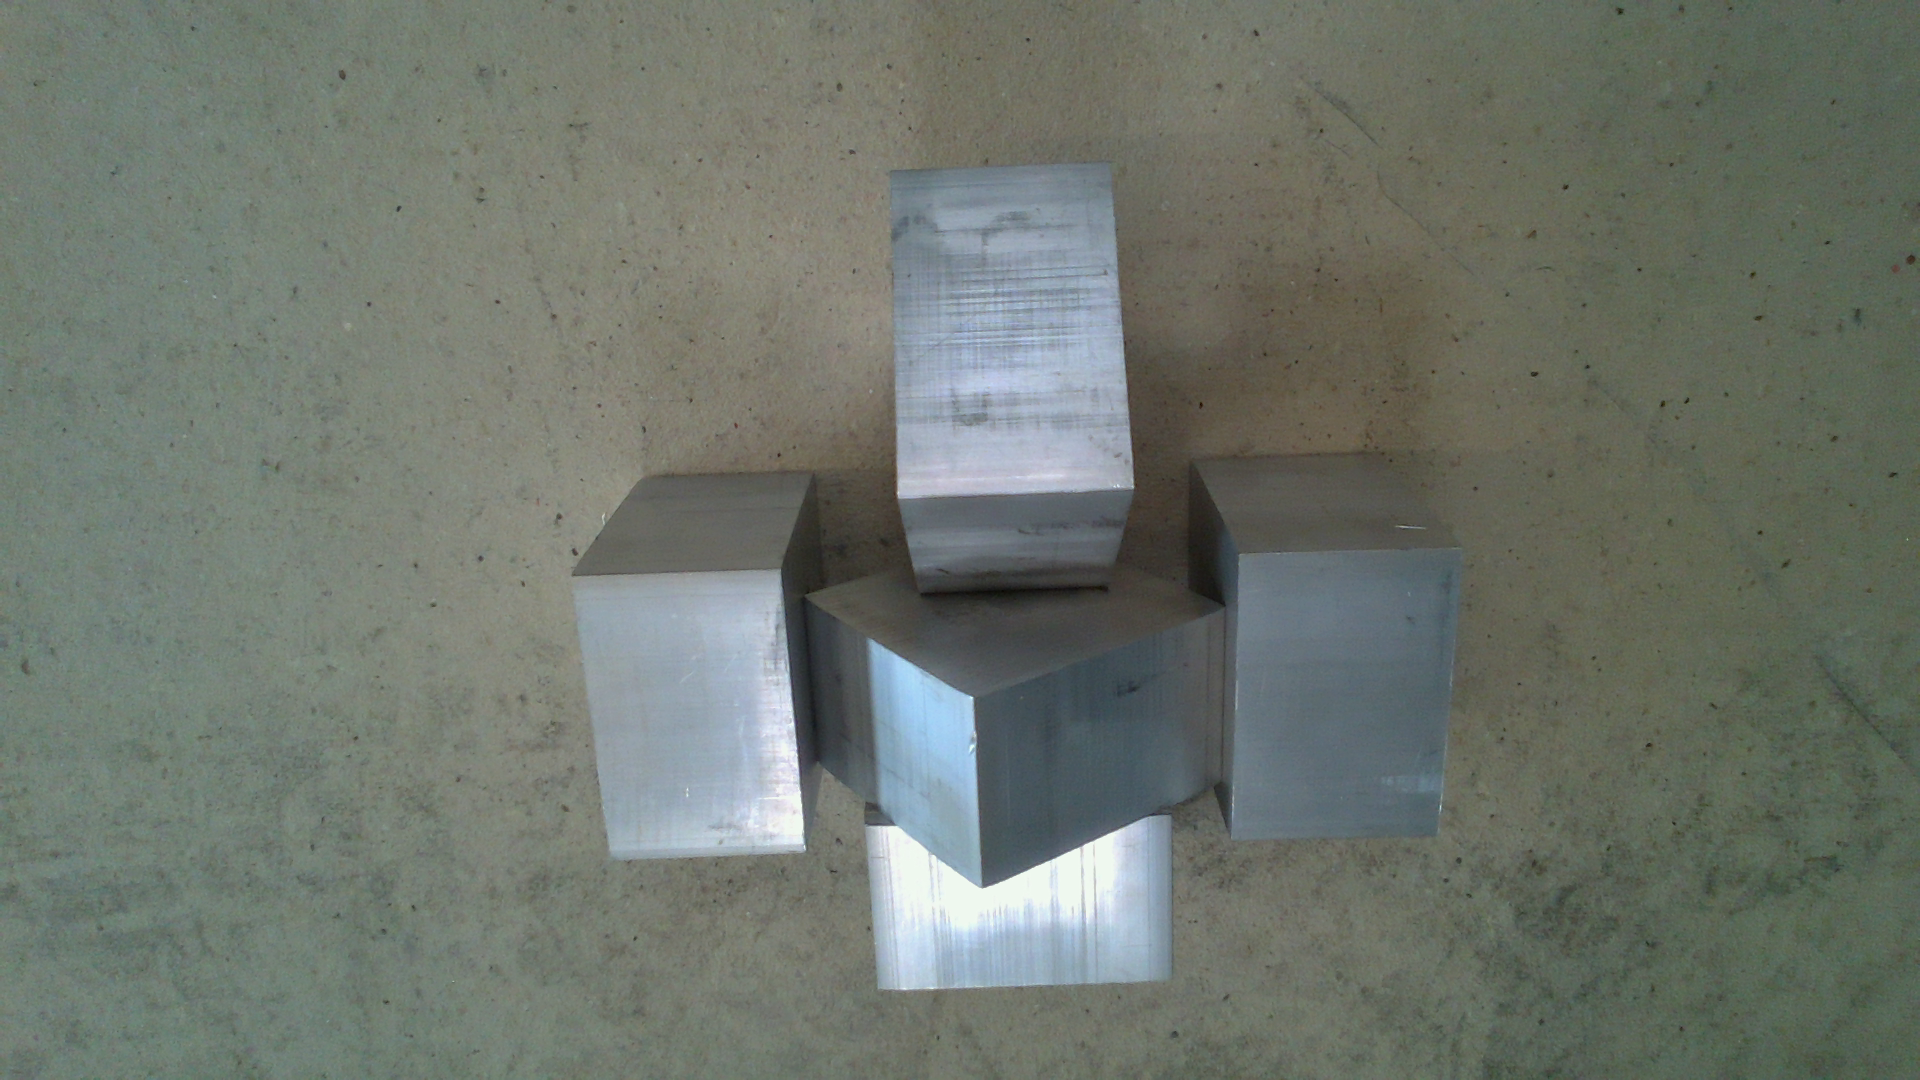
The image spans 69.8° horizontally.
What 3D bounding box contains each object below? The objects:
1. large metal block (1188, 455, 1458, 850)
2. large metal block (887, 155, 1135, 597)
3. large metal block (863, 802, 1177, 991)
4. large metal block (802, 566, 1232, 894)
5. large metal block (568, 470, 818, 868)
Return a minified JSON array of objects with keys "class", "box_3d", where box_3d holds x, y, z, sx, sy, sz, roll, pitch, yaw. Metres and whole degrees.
[{"class":"large metal block","box_3d":[0.094,0.027,0.375,0.050,0.080,0.080,-2,109,0]},{"class":"large metal block","box_3d":[0.011,-0.036,0.336,0.050,0.080,0.080,-3,73,1]},{"class":"large metal block","box_3d":[0.017,0.081,0.396,0.080,0.080,0.050,-2,110,1]},{"class":"large metal block","box_3d":[0.014,0.040,0.365,0.080,0.080,0.050,-15,113,-32]},{"class":"large metal block","box_3d":[-0.066,0.032,0.375,0.050,0.080,0.080,-2,110,0]}]
